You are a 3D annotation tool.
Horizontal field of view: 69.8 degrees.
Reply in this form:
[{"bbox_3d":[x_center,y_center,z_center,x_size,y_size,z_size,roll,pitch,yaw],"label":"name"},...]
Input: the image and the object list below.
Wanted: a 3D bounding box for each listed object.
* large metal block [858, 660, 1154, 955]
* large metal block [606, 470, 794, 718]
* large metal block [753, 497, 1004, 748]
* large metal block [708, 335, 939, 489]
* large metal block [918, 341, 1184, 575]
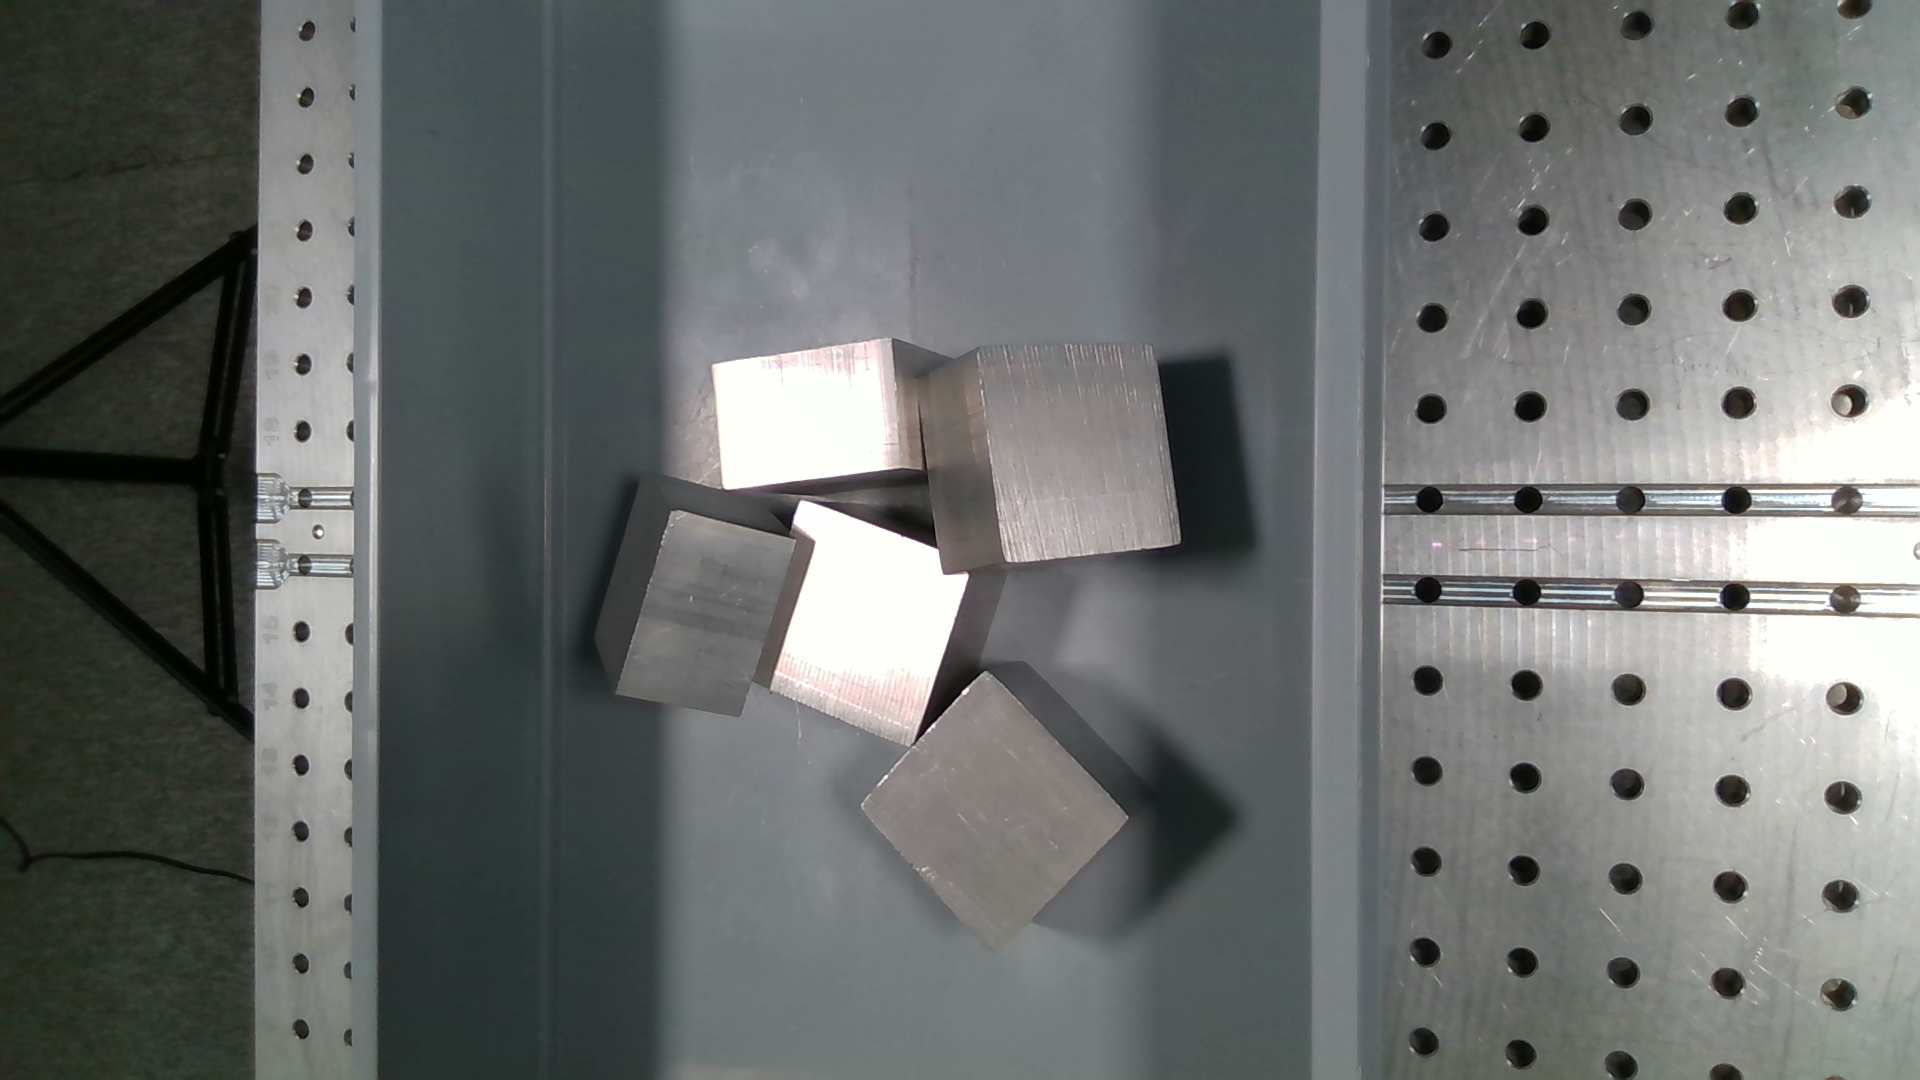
[{"bbox_3d":[0.020,0.107,0.565,0.080,0.050,0.080,45,105,14],"label":"large metal block"},{"bbox_3d":[-0.115,0.020,0.591,0.050,0.080,0.080,14,99,-23],"label":"large metal block"},{"bbox_3d":[-0.034,0.033,0.585,0.080,0.050,0.080,20,97,19],"label":"large metal block"},{"bbox_3d":[-0.047,-0.049,0.572,0.080,0.080,0.050,-6,88,20],"label":"large metal block"},{"bbox_3d":[0.035,-0.032,0.536,0.050,0.080,0.080,-13,84,62],"label":"large metal block"}]
